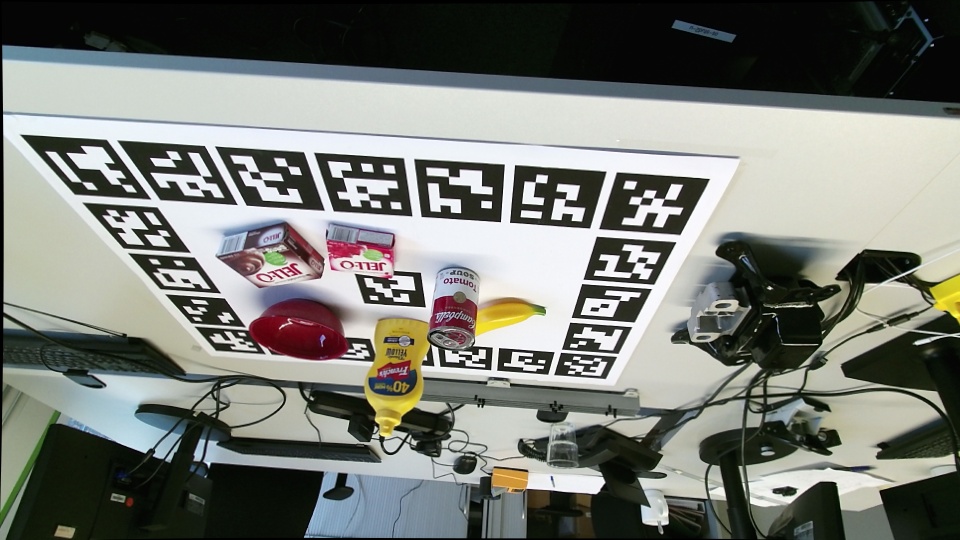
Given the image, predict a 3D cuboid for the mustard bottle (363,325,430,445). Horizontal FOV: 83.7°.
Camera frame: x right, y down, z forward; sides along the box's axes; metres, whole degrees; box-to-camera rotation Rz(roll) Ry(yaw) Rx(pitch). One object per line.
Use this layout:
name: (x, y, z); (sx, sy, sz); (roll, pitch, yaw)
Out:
mustard bottle: (-0.140, 0.186, 0.872); (0.096, 0.190, 0.058); (4, 148, 2)

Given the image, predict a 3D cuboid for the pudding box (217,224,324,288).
pudding box: (-0.293, -0.014, 0.757); (0.114, 0.038, 0.090); (-11, 137, 21)

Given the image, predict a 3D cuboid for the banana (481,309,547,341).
banana: (0.014, 0.102, 0.885); (0.074, 0.038, 0.197); (22, 143, -39)

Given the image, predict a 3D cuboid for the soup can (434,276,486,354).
soup can: (-0.028, 0.068, 0.771); (0.068, 0.101, 0.068); (5, 147, 3)

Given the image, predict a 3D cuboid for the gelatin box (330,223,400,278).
gelatin box: (-0.156, -0.024, 0.733); (0.090, 0.030, 0.073); (8, 142, -5)

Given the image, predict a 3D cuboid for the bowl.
bowl: (-0.305, 0.098, 0.909); (0.162, 0.055, 0.162); (2, 146, 2)
